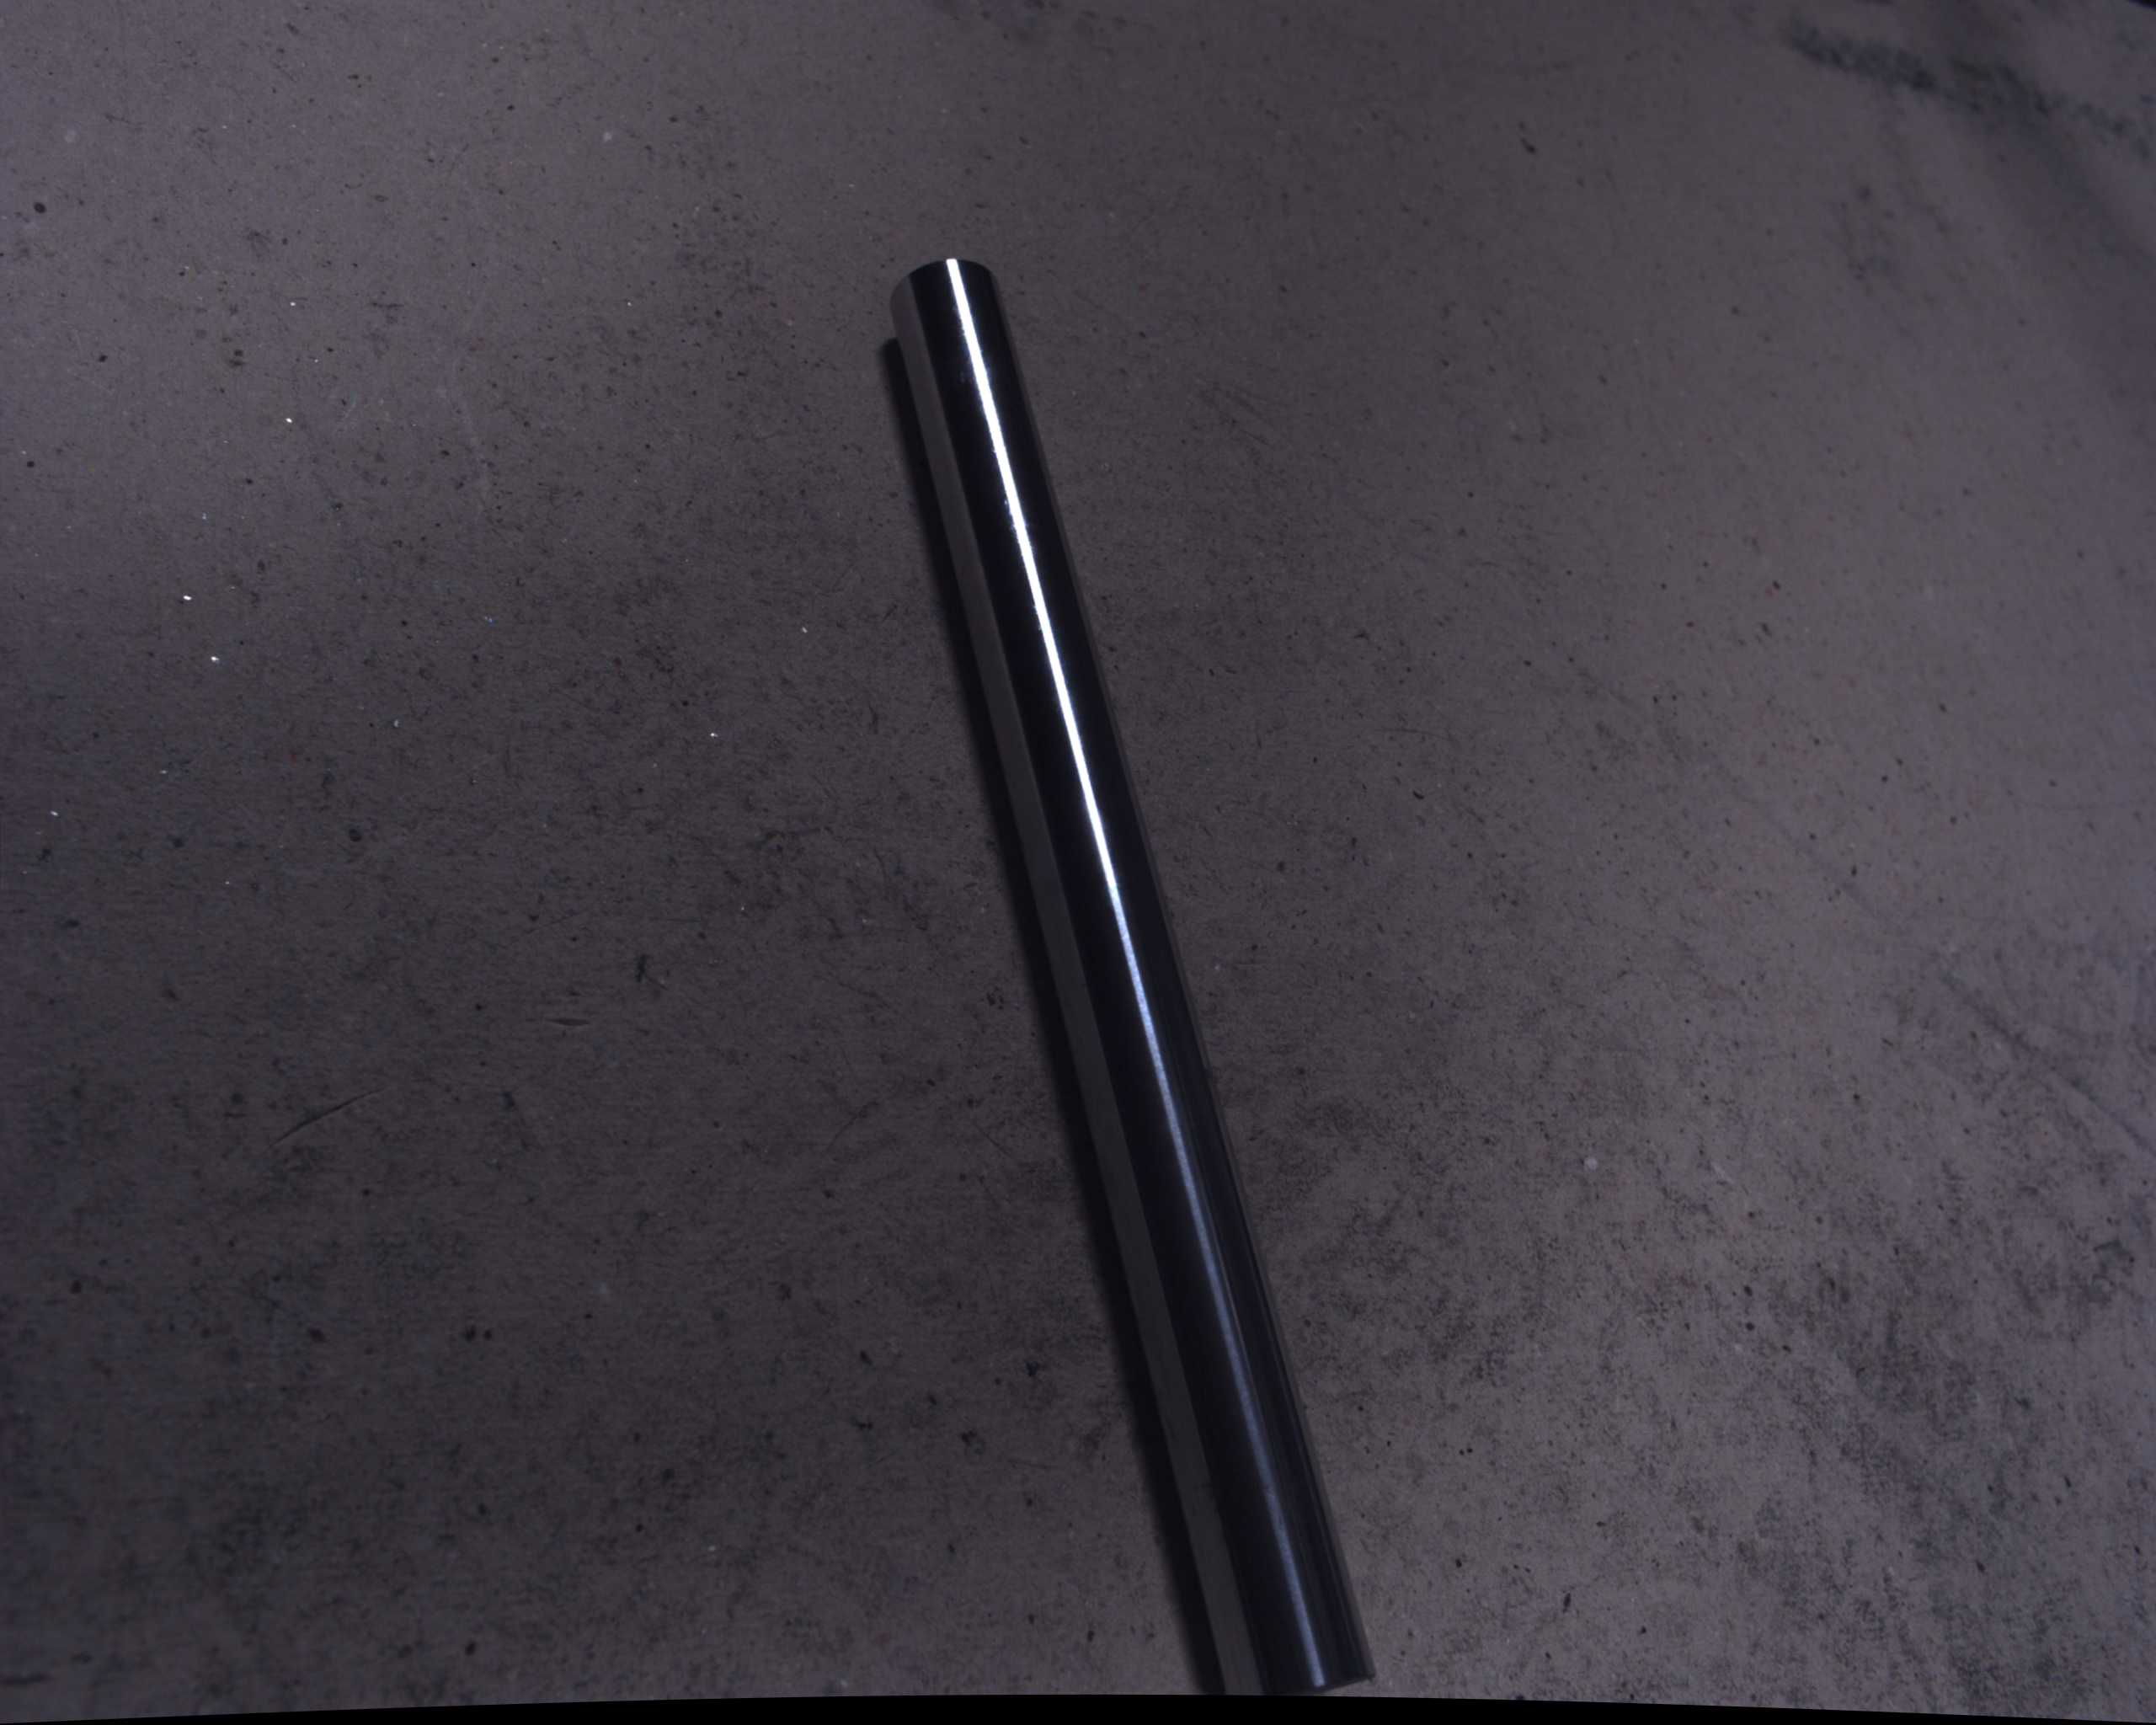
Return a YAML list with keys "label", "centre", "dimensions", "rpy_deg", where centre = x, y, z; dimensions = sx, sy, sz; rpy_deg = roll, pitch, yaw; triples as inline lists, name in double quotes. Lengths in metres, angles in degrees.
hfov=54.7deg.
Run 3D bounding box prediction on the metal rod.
- label: "metal rod"
  centre: [0.003, 0.005, 0.405]
  dimensions: [0.025, 0.025, 0.299]
  rpy_deg: [0, 62, -29]
